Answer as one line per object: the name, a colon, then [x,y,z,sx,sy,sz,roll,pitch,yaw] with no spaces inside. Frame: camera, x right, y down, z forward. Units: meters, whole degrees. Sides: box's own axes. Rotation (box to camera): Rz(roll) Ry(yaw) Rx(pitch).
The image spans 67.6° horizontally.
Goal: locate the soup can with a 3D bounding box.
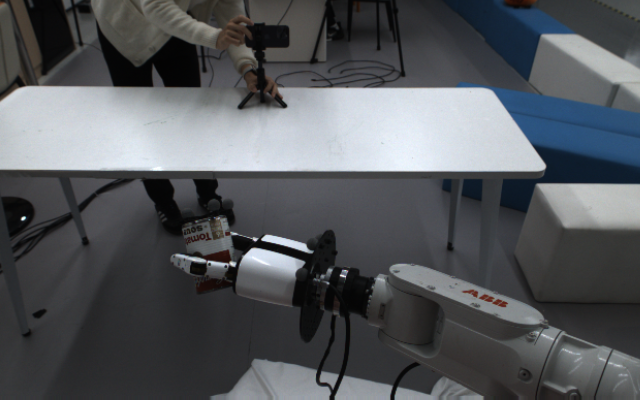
soup can: [-0.157,0.082,0.706,0.067,0.101,0.067,-14,-3,-1]
